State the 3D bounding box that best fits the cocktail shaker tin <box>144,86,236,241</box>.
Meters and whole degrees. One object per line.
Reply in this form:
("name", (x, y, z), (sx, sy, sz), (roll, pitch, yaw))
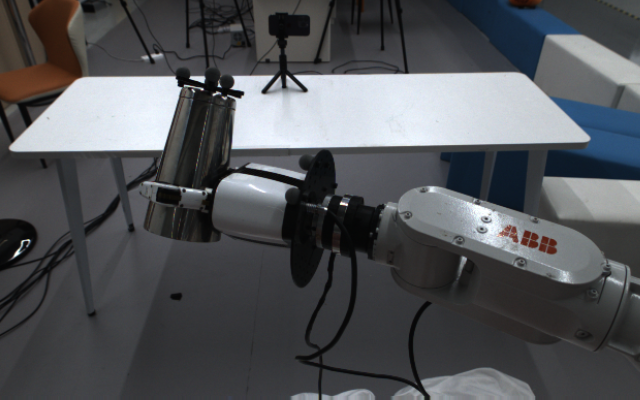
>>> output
("cocktail shaker tin", (-0.150, -0.042, 0.582), (0.093, 0.170, 0.093), (12, 5, -1))
